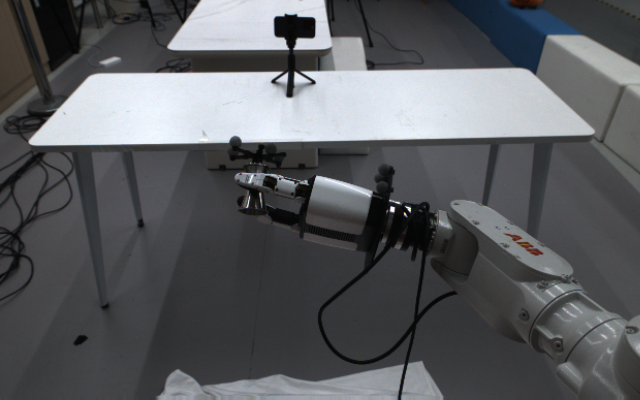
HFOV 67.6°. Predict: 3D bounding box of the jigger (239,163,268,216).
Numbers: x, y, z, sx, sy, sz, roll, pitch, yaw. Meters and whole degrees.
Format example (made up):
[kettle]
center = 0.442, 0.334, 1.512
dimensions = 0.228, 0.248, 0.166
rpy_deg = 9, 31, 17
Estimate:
[jigger]
center = -0.095, -0.016, 0.697
dimensions = 0.043, 0.043, 0.071
rpy_deg = 3, 76, 1
